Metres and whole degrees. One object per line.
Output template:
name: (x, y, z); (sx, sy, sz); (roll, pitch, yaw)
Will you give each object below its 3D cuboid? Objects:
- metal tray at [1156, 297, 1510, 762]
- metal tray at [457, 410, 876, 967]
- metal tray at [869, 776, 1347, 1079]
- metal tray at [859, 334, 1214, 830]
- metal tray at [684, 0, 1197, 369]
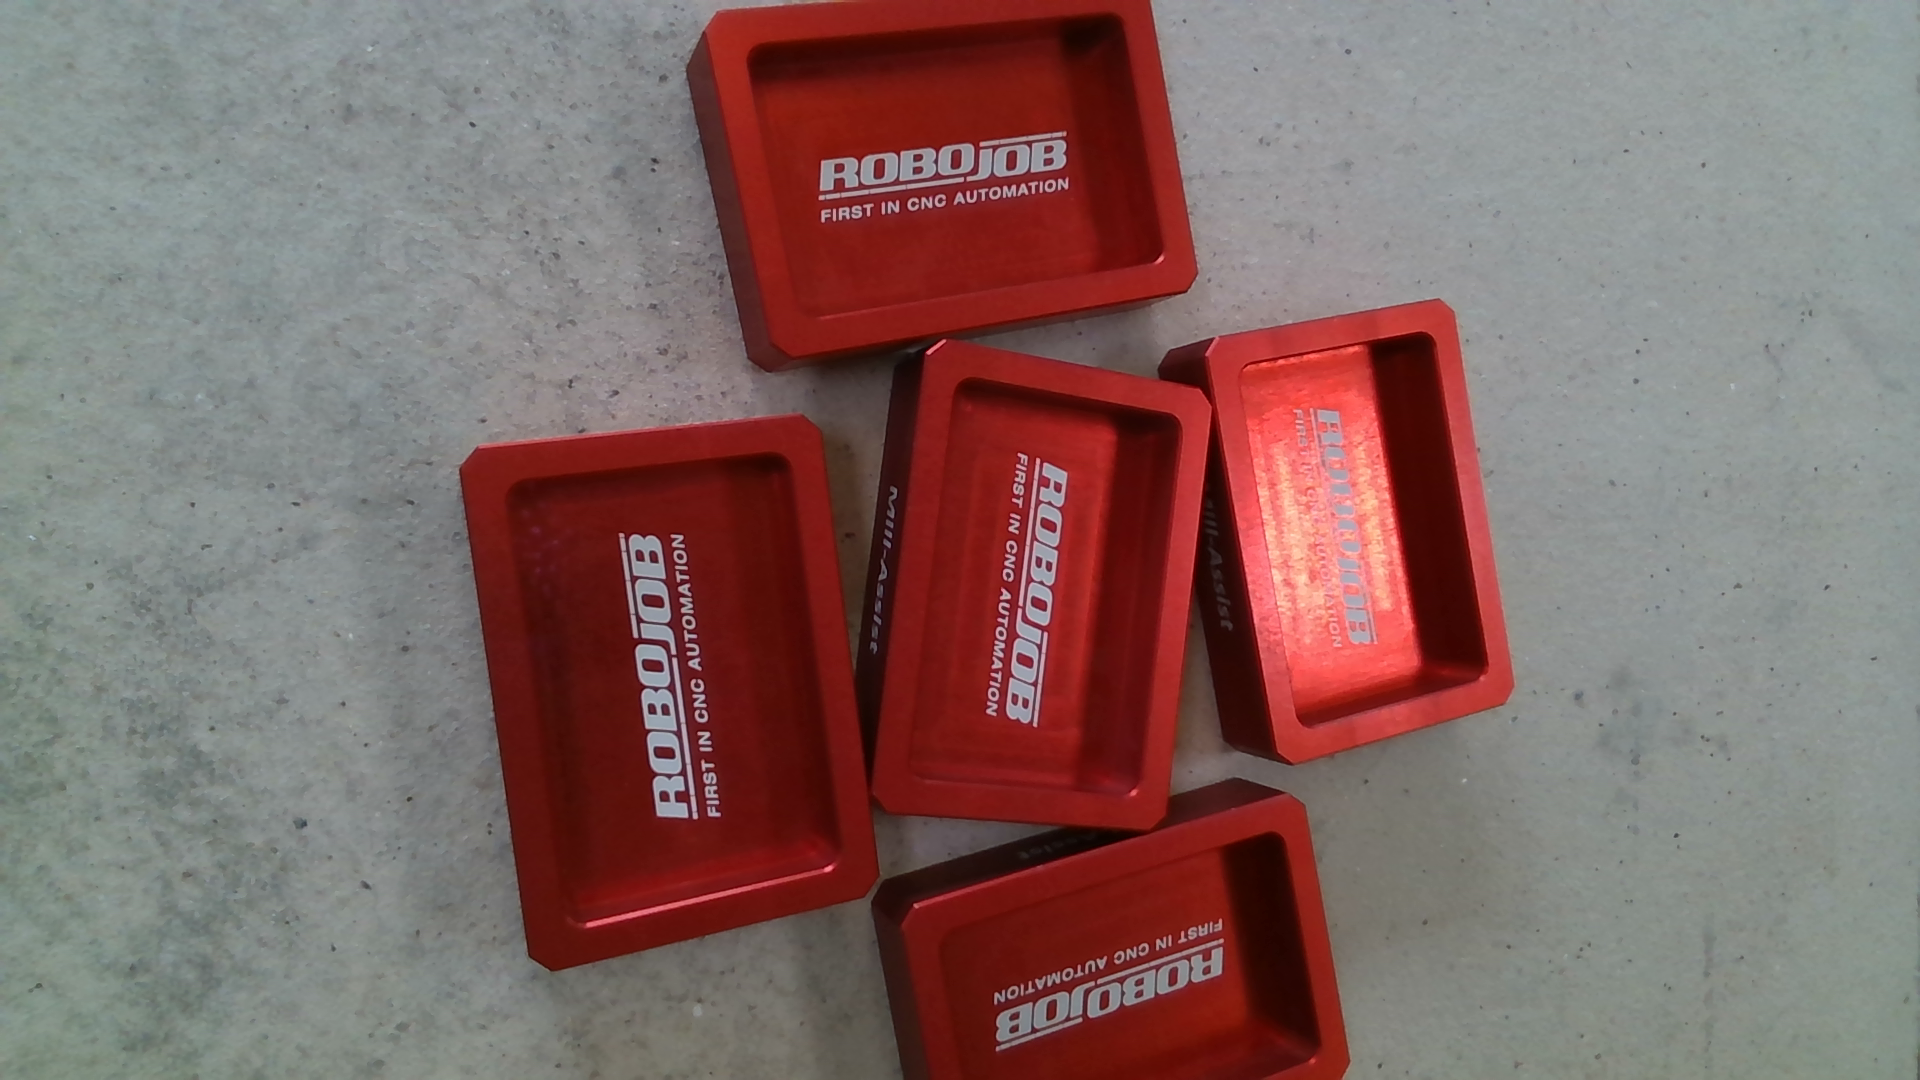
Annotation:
metal tray: (0.119, -0.005, 0.435); (0.090, 0.030, 0.130); (-12, 94, -20)
metal tray: (-0.077, 0.036, 0.363); (0.090, 0.030, 0.130); (-8, 93, -20)
metal tray: (0.046, 0.131, 0.409); (0.130, 0.030, 0.090); (-12, 93, -19)
metal tray: (0.020, 0.014, 0.399); (0.090, 0.030, 0.130); (8, 87, -18)
metal tray: (-0.003, -0.104, 0.390); (0.130, 0.030, 0.090); (-13, 94, -19)
